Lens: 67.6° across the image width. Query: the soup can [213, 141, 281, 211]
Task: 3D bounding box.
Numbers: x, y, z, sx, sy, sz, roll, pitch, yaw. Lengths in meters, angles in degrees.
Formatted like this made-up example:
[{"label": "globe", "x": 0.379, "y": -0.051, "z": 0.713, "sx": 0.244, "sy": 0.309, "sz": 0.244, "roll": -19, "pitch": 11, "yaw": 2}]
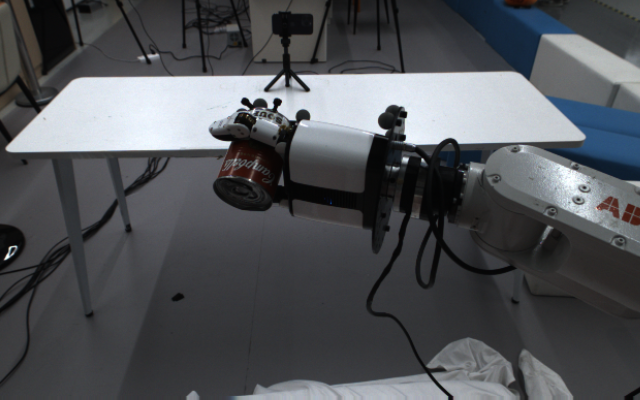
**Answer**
[{"label": "soup can", "x": -0.072, "y": -0.047, "z": 0.551, "sx": 0.067, "sy": 0.067, "sz": 0.101, "roll": 9, "pitch": 58, "yaw": 10}]
